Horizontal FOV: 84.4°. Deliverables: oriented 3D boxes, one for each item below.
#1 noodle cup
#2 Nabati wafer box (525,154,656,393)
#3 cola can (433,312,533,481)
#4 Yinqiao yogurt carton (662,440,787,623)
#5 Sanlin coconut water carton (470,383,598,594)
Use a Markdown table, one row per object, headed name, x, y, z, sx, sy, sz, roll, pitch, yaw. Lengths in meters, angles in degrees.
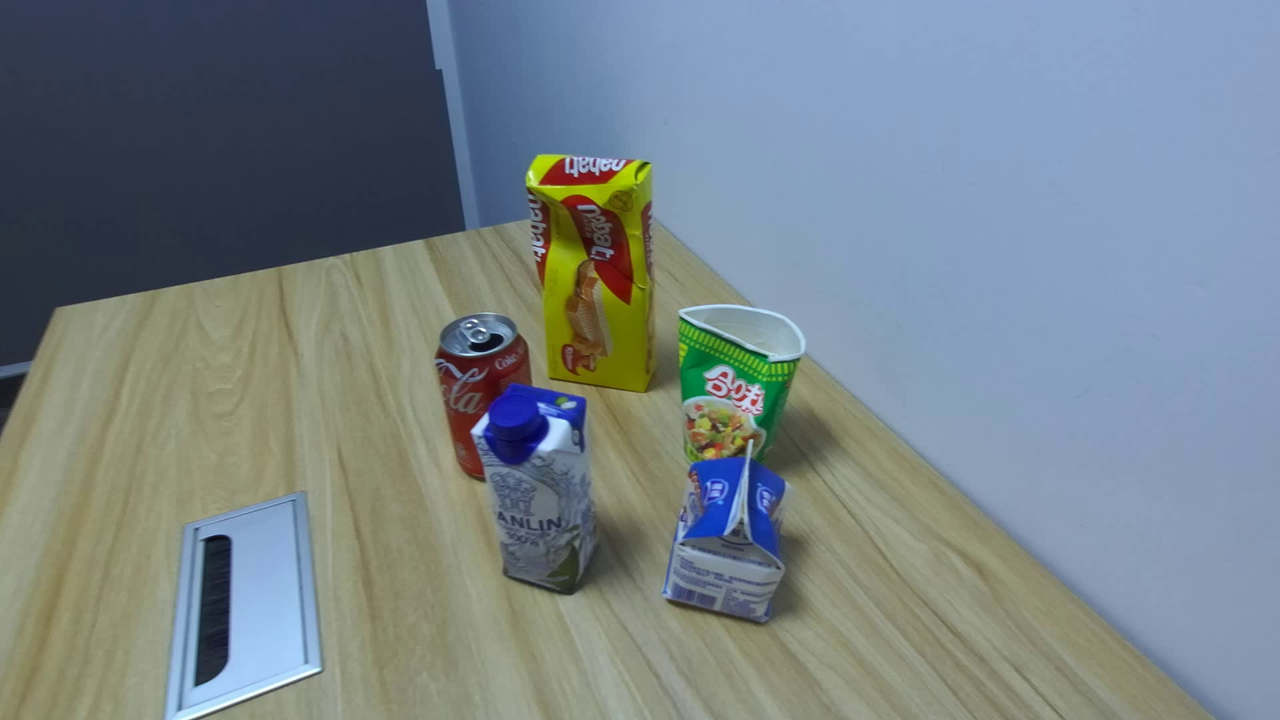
| name | x | y | z | sx | sy | sz | roll | pitch | yaw |
| --- | --- | --- | --- | --- | --- | --- | --- | --- | --- |
| noodle cup | 0.072 | 0.026 | 0.533 | 0.075 | 0.122 | 0.082 | -5 | 27 | -20 |
| Nabati wafer box | -0.040 | -0.069 | 0.588 | 0.106 | 0.204 | 0.042 | 9 | 37 | 13 |
| cola can | -0.112 | 0.028 | 0.528 | 0.068 | 0.120 | 0.067 | -1 | 34 | 1 |
| Yinqiao yogurt carton | 0.058 | 0.103 | 0.442 | 0.071 | 0.094 | 0.077 | 11 | 38 | 8 |
| Sanlin coconut water carton | -0.062 | 0.077 | 0.440 | 0.060 | 0.144 | 0.061 | 10 | 35 | 17 |
